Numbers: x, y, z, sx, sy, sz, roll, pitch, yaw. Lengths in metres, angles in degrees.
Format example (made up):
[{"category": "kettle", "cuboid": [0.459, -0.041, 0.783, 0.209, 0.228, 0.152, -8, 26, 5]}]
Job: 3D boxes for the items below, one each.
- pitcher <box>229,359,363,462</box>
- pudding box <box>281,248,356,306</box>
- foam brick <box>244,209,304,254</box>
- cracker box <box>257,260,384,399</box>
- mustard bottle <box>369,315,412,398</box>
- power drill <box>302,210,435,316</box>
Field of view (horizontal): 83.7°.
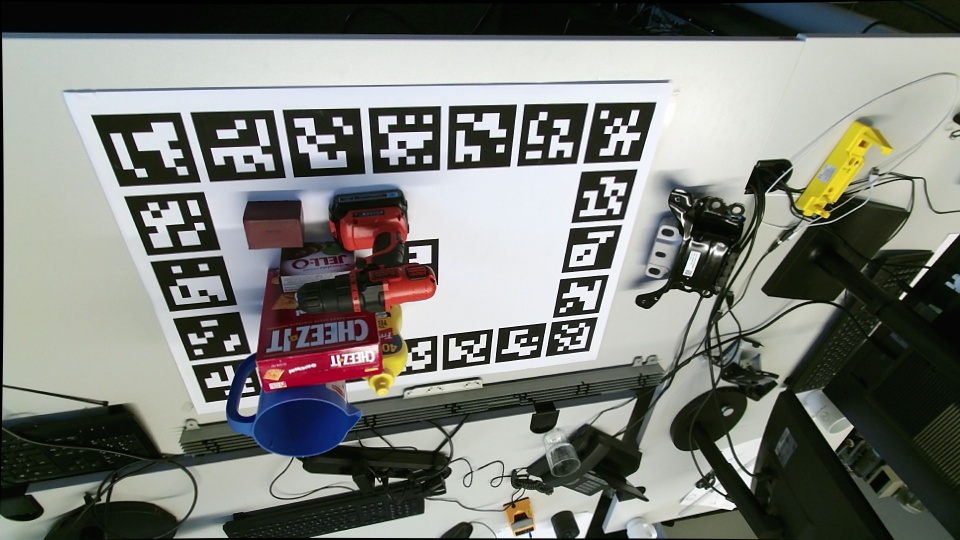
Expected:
[{"category": "pitcher", "cuboid": [-0.292, 0.171, 0.851, 0.189, 0.241, 0.133, -2, 125, -18]}, {"category": "pudding box", "cuboid": [-0.246, 0.009, 0.824, 0.114, 0.089, 0.038, -7, 127, -16]}, {"category": "foam brick", "cuboid": [-0.306, -0.056, 0.800, 0.078, 0.051, 0.053, -4, 123, -14]}, {"category": "cracker box", "cuboid": [-0.242, 0.079, 0.808, 0.165, 0.212, 0.072, -9, 128, -14]}, {"category": "mustard bottle", "cuboid": [-0.165, 0.151, 0.890, 0.096, 0.190, 0.058, 6, 121, -21]}, {"category": "power drill", "cuboid": [-0.166, -0.009, 0.748, 0.185, 0.186, 0.057, -7, 129, -12]}]
